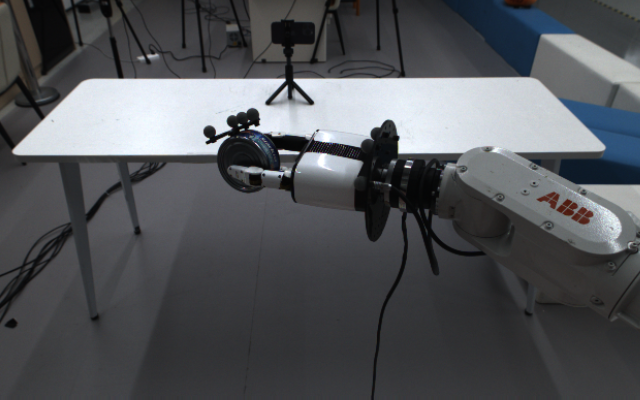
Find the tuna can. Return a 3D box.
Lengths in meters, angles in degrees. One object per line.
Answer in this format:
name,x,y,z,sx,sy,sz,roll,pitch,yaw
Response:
tuna can,-0.098,-0.048,0.682,0.085,0.085,0.034,15,30,17
